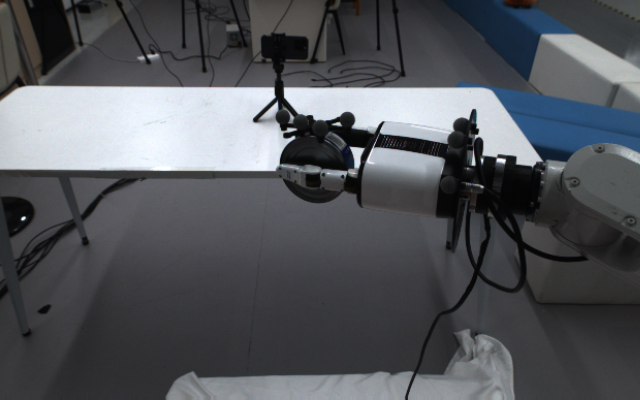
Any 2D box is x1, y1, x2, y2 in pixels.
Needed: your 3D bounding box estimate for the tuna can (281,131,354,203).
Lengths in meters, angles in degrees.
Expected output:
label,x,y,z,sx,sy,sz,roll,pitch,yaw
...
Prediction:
label,x,y,z,sx,sy,sz,roll,pitch,yaw
tuna can,-0.002,-0.044,0.582,0.085,0.085,0.034,14,29,16
